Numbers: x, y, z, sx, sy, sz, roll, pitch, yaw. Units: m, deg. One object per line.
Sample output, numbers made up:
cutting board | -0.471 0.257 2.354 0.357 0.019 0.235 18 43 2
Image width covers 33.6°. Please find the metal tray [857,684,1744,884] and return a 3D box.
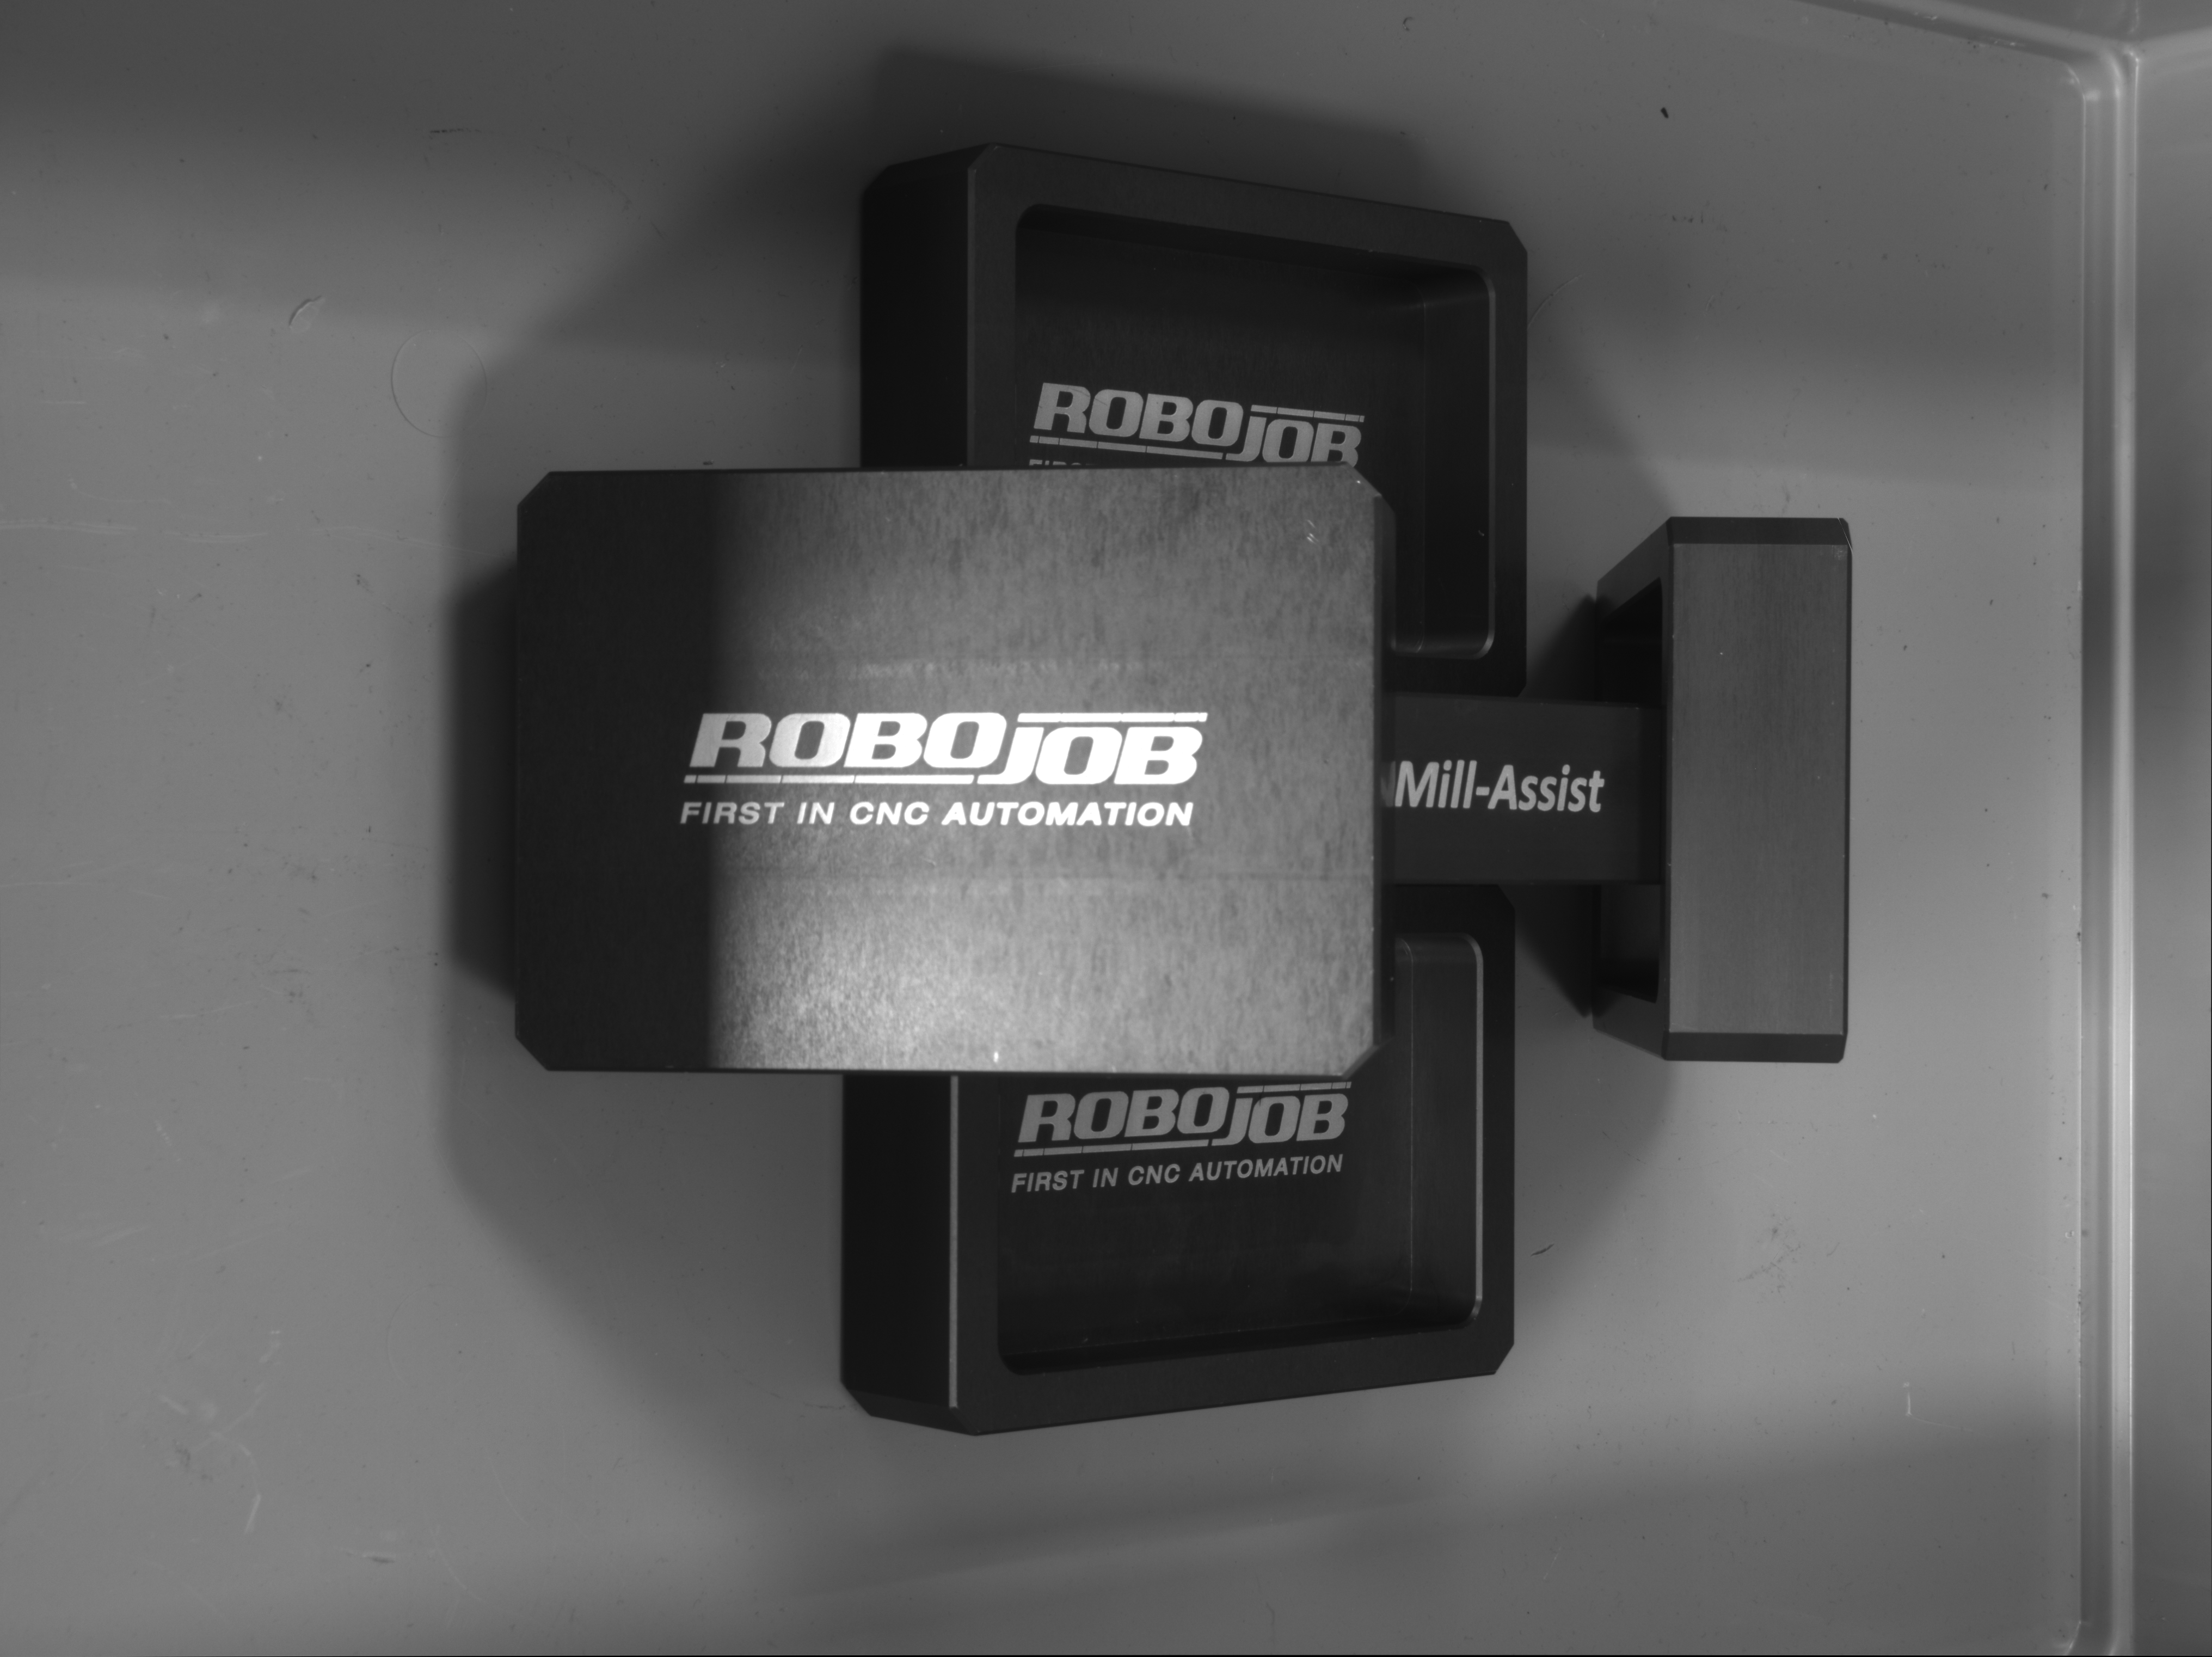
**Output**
metal tray | 0.034 -0.006 0.620 0.131 0.090 0.030 1 89 -40

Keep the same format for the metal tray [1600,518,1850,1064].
metal tray | 0.110 -0.005 0.666 0.030 0.130 0.090 0 89 3

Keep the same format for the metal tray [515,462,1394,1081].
metal tray | -0.022 -0.008 0.556 0.030 0.130 0.090 4 86 -82

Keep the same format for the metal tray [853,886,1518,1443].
metal tray | 0.017 0.055 0.643 0.131 0.030 0.090 1 89 -40

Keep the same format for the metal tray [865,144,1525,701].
metal tray | 0.018 -0.066 0.646 0.131 0.030 0.090 0 91 -40
